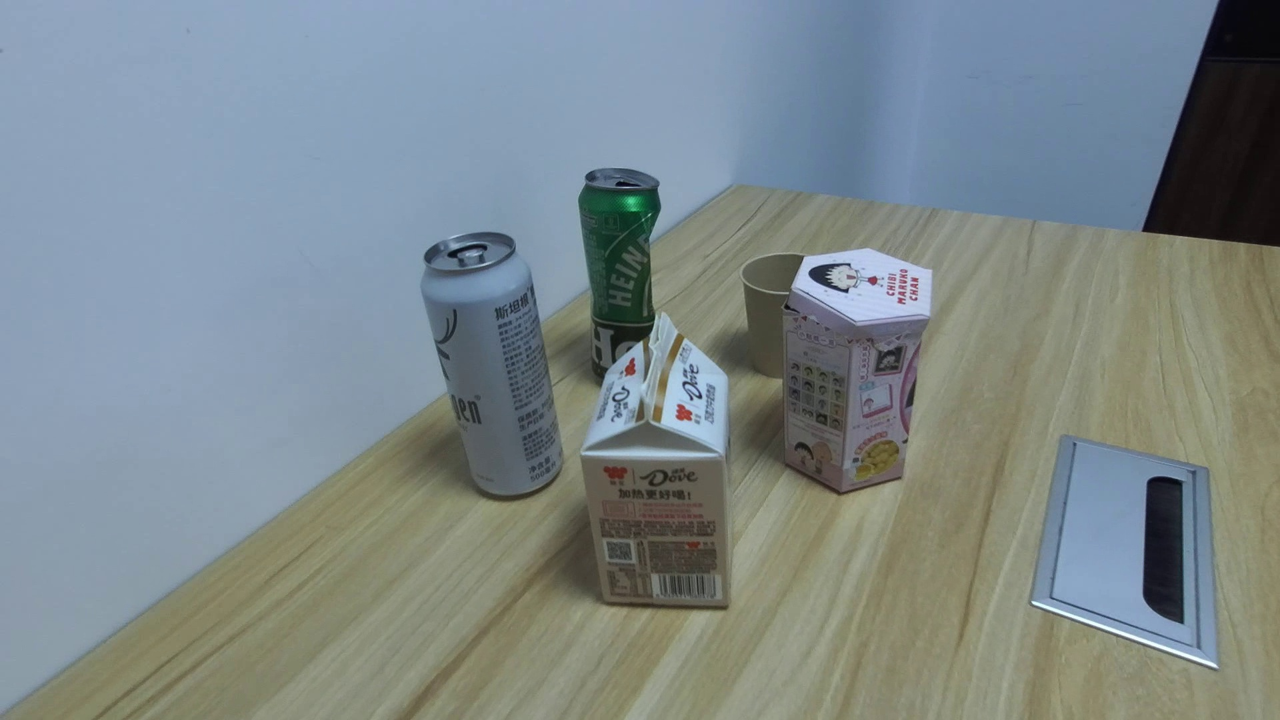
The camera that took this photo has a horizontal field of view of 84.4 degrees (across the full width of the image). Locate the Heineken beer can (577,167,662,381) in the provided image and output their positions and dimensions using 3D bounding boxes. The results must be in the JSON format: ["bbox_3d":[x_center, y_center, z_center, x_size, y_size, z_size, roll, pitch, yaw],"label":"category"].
[{"bbox_3d":[-0.009,-0.059,0.554,0.069,0.168,0.068,15,32,28],"label":"Heineken beer can"}]

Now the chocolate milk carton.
[{"bbox_3d":[0.013,0.055,0.386,0.074,0.148,0.075,0,31,9],"label":"chocolate milk carton"}]

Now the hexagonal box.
[{"bbox_3d":[0.136,0.007,0.456,0.085,0.135,0.092,7,34,18],"label":"hexagonal box"}]

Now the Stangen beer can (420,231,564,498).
[{"bbox_3d":[-0.094,0.007,0.464,0.067,0.171,0.067,-4,31,3],"label":"Stangen beer can"}]
